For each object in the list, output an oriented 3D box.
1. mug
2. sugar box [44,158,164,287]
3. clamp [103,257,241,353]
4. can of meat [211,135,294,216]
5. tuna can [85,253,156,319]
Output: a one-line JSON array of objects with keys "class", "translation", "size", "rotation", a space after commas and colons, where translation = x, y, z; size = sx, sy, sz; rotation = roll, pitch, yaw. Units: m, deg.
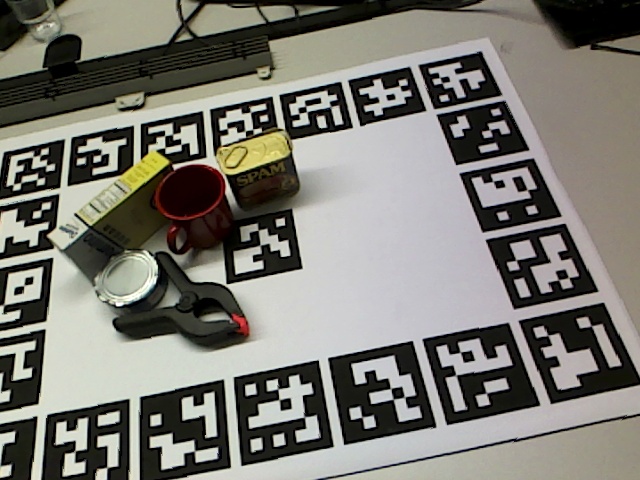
[{"class": "mug", "translation": [-0.181, -0.030, 0.827], "size": [0.093, 0.081, 0.117], "rotation": [10, 61, 14]}, {"class": "sugar box", "translation": [-0.274, -0.022, 0.839], "size": [0.045, 0.092, 0.176], "rotation": [35, 67, 28]}, {"class": "clamp", "translation": [-0.175, 0.095, 0.782], "size": [0.166, 0.036, 0.122], "rotation": [21, 58, 16]}, {"class": "can of meat", "translation": [-0.090, -0.088, 0.859], "size": [0.102, 0.083, 0.058], "rotation": [-18, 55, -5]}, {"class": "tuna can", "translation": [-0.260, 0.062, 0.810], "size": [0.086, 0.033, 0.086], "rotation": [-4, 59, 6]}]
